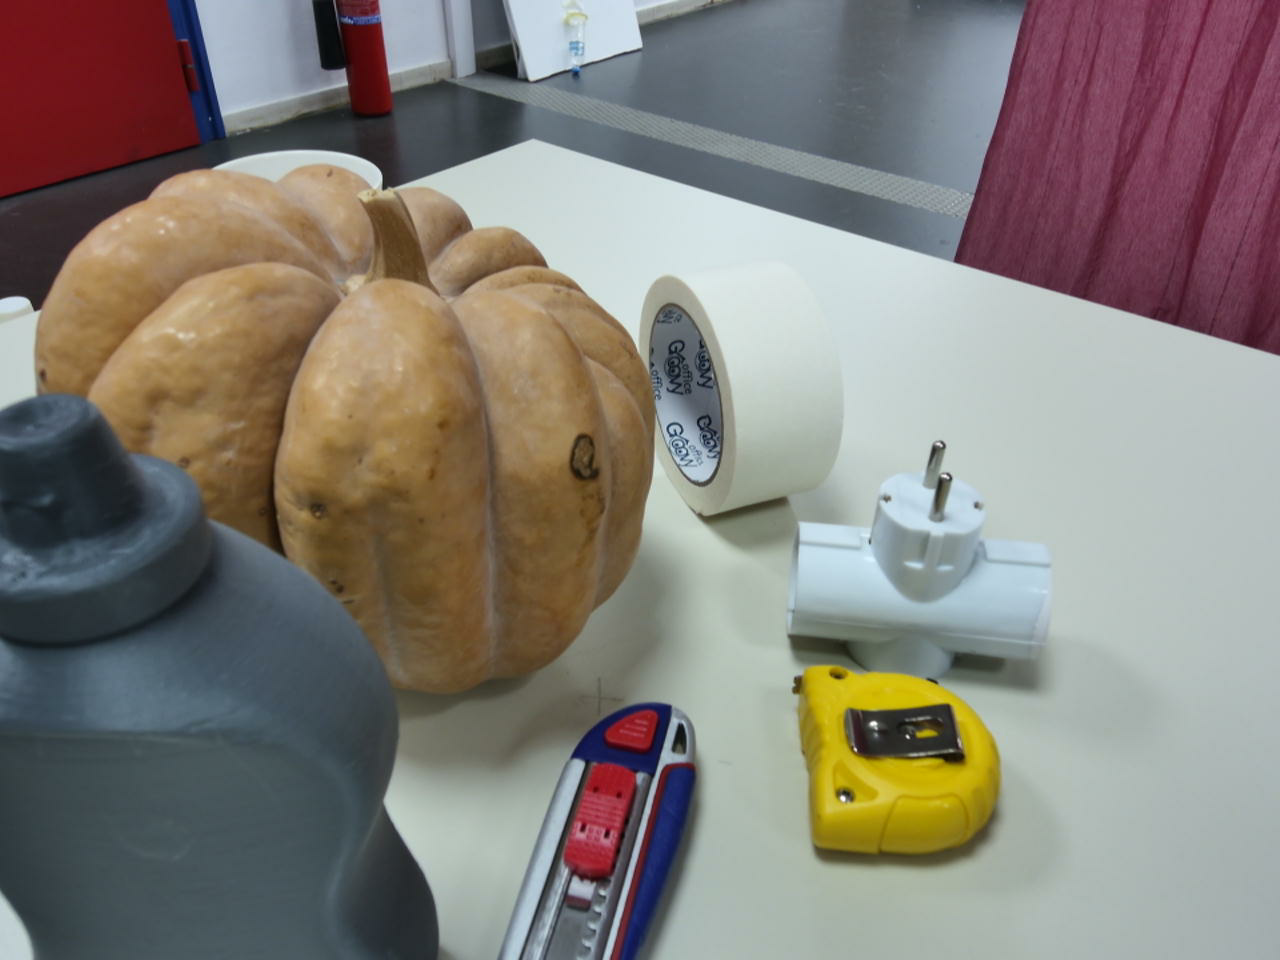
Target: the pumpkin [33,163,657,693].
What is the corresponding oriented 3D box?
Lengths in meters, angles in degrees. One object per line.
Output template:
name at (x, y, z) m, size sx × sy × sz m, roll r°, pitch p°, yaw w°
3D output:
pumpkin at (-0.091, -0.017, 0.347) m, size 0.199 × 0.177 × 0.198 m, roll 1°, pitch 36°, yaw -1°
